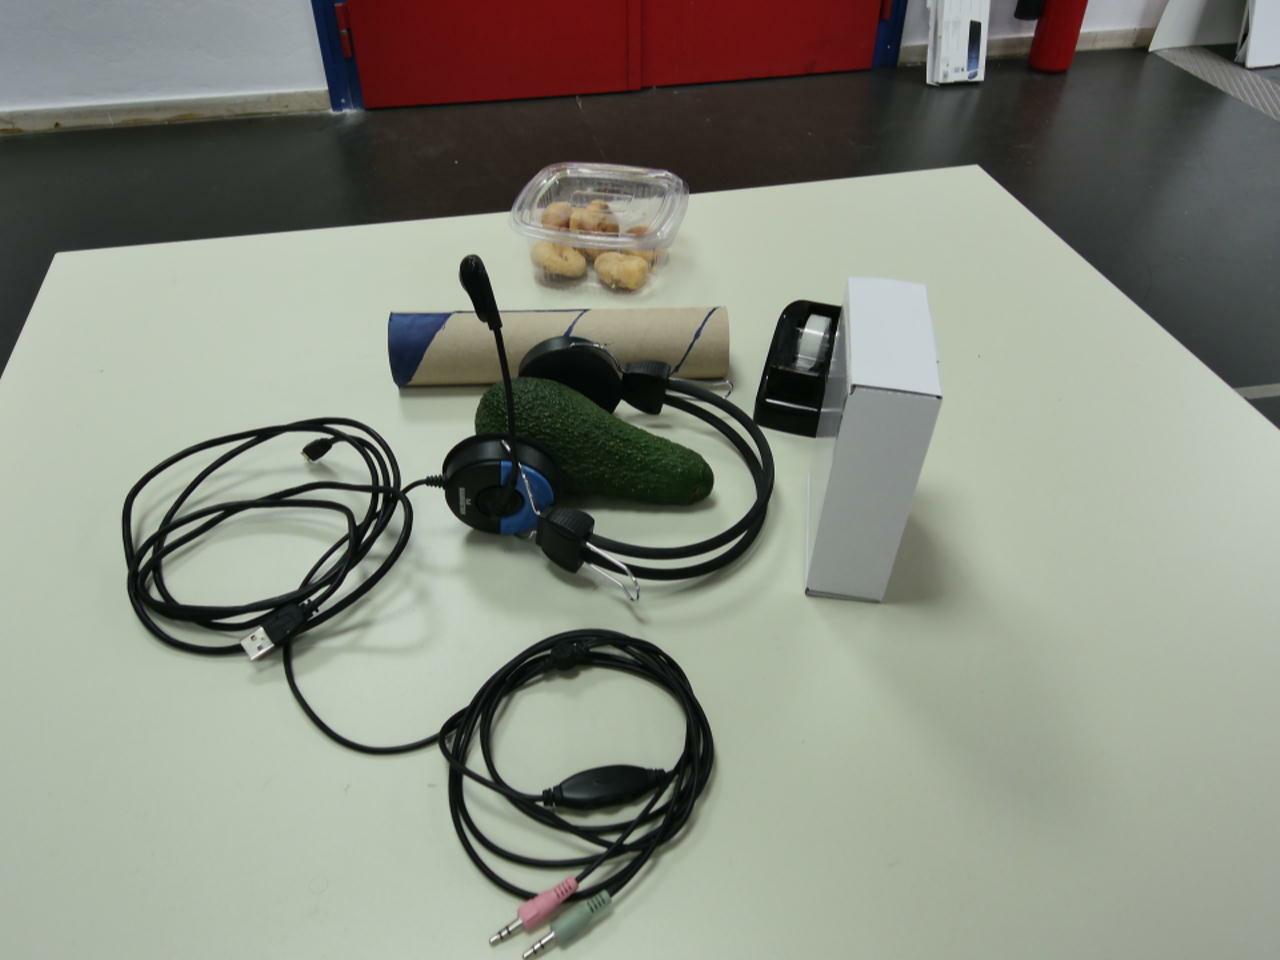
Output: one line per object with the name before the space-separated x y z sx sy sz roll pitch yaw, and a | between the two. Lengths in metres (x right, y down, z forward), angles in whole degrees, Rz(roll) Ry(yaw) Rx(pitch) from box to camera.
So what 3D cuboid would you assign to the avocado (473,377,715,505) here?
avocado | -0.026 -0.026 0.577 0.141 0.067 0.063 2 39 2
